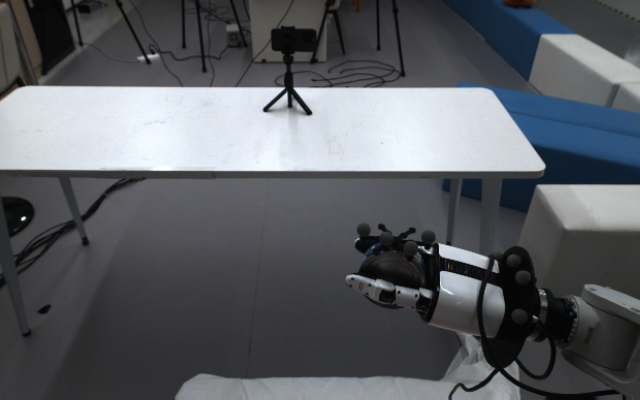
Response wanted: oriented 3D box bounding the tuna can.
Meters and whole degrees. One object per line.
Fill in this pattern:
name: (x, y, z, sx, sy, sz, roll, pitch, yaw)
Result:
tuna can: (0.095, 0.094, 0.625, 0.085, 0.085, 0.034, 9, 23, 10)
